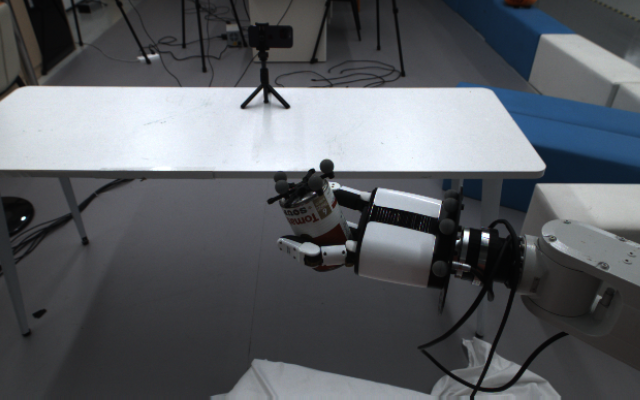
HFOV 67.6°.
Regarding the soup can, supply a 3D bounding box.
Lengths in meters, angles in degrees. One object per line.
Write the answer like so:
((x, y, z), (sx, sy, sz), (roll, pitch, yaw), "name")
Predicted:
((0.001, 0.030, 0.613), (0.067, 0.101, 0.067), (-21, 24, 10), "soup can")
